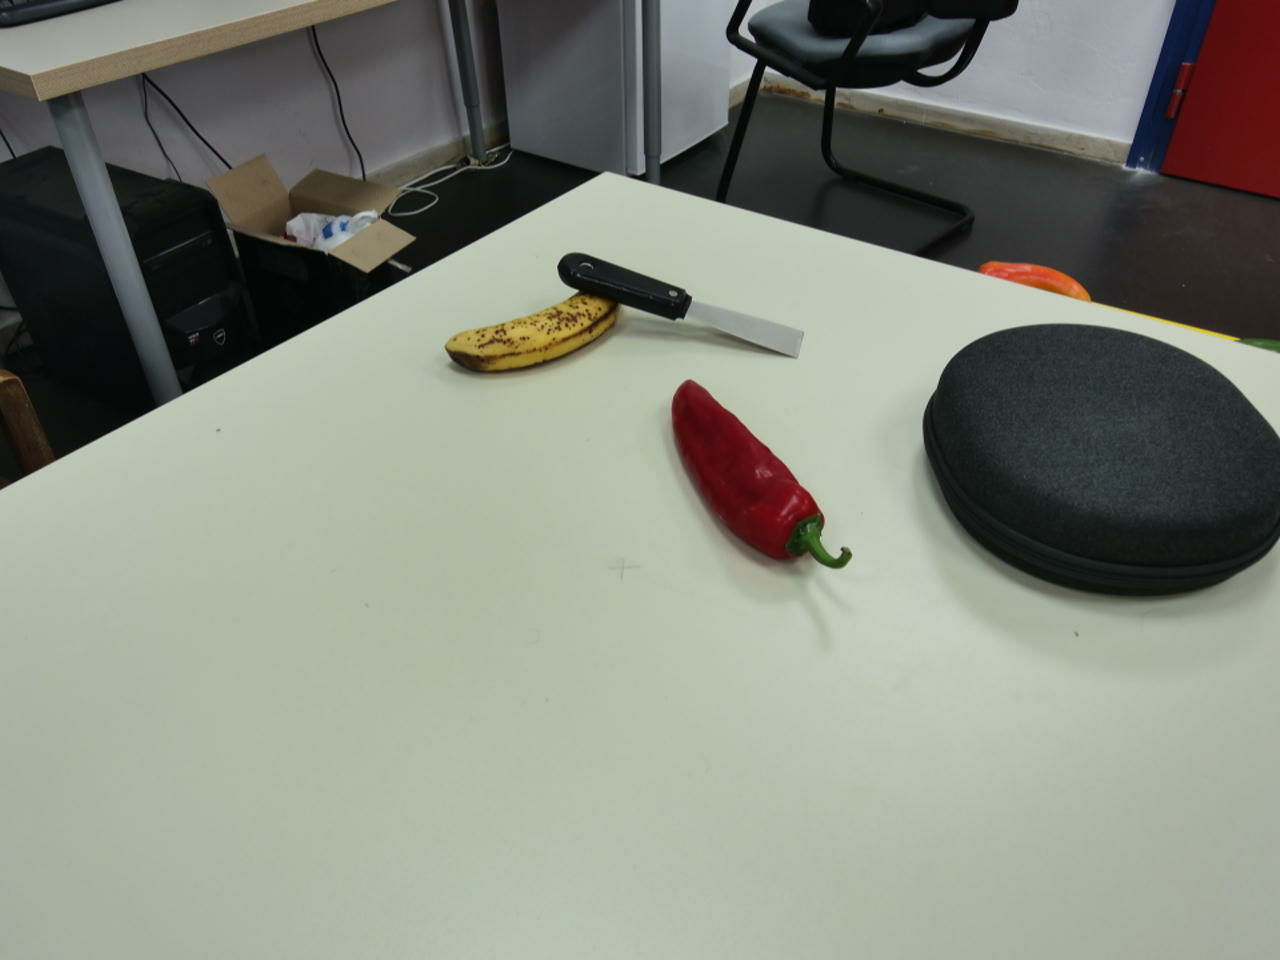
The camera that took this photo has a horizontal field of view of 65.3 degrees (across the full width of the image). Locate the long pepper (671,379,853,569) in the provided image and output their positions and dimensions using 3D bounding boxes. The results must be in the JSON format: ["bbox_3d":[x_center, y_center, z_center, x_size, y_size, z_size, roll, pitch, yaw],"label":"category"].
[{"bbox_3d":[0.061,-0.006,0.601,0.050,0.043,0.211,-13,39,-16],"label":"long pepper"}]
